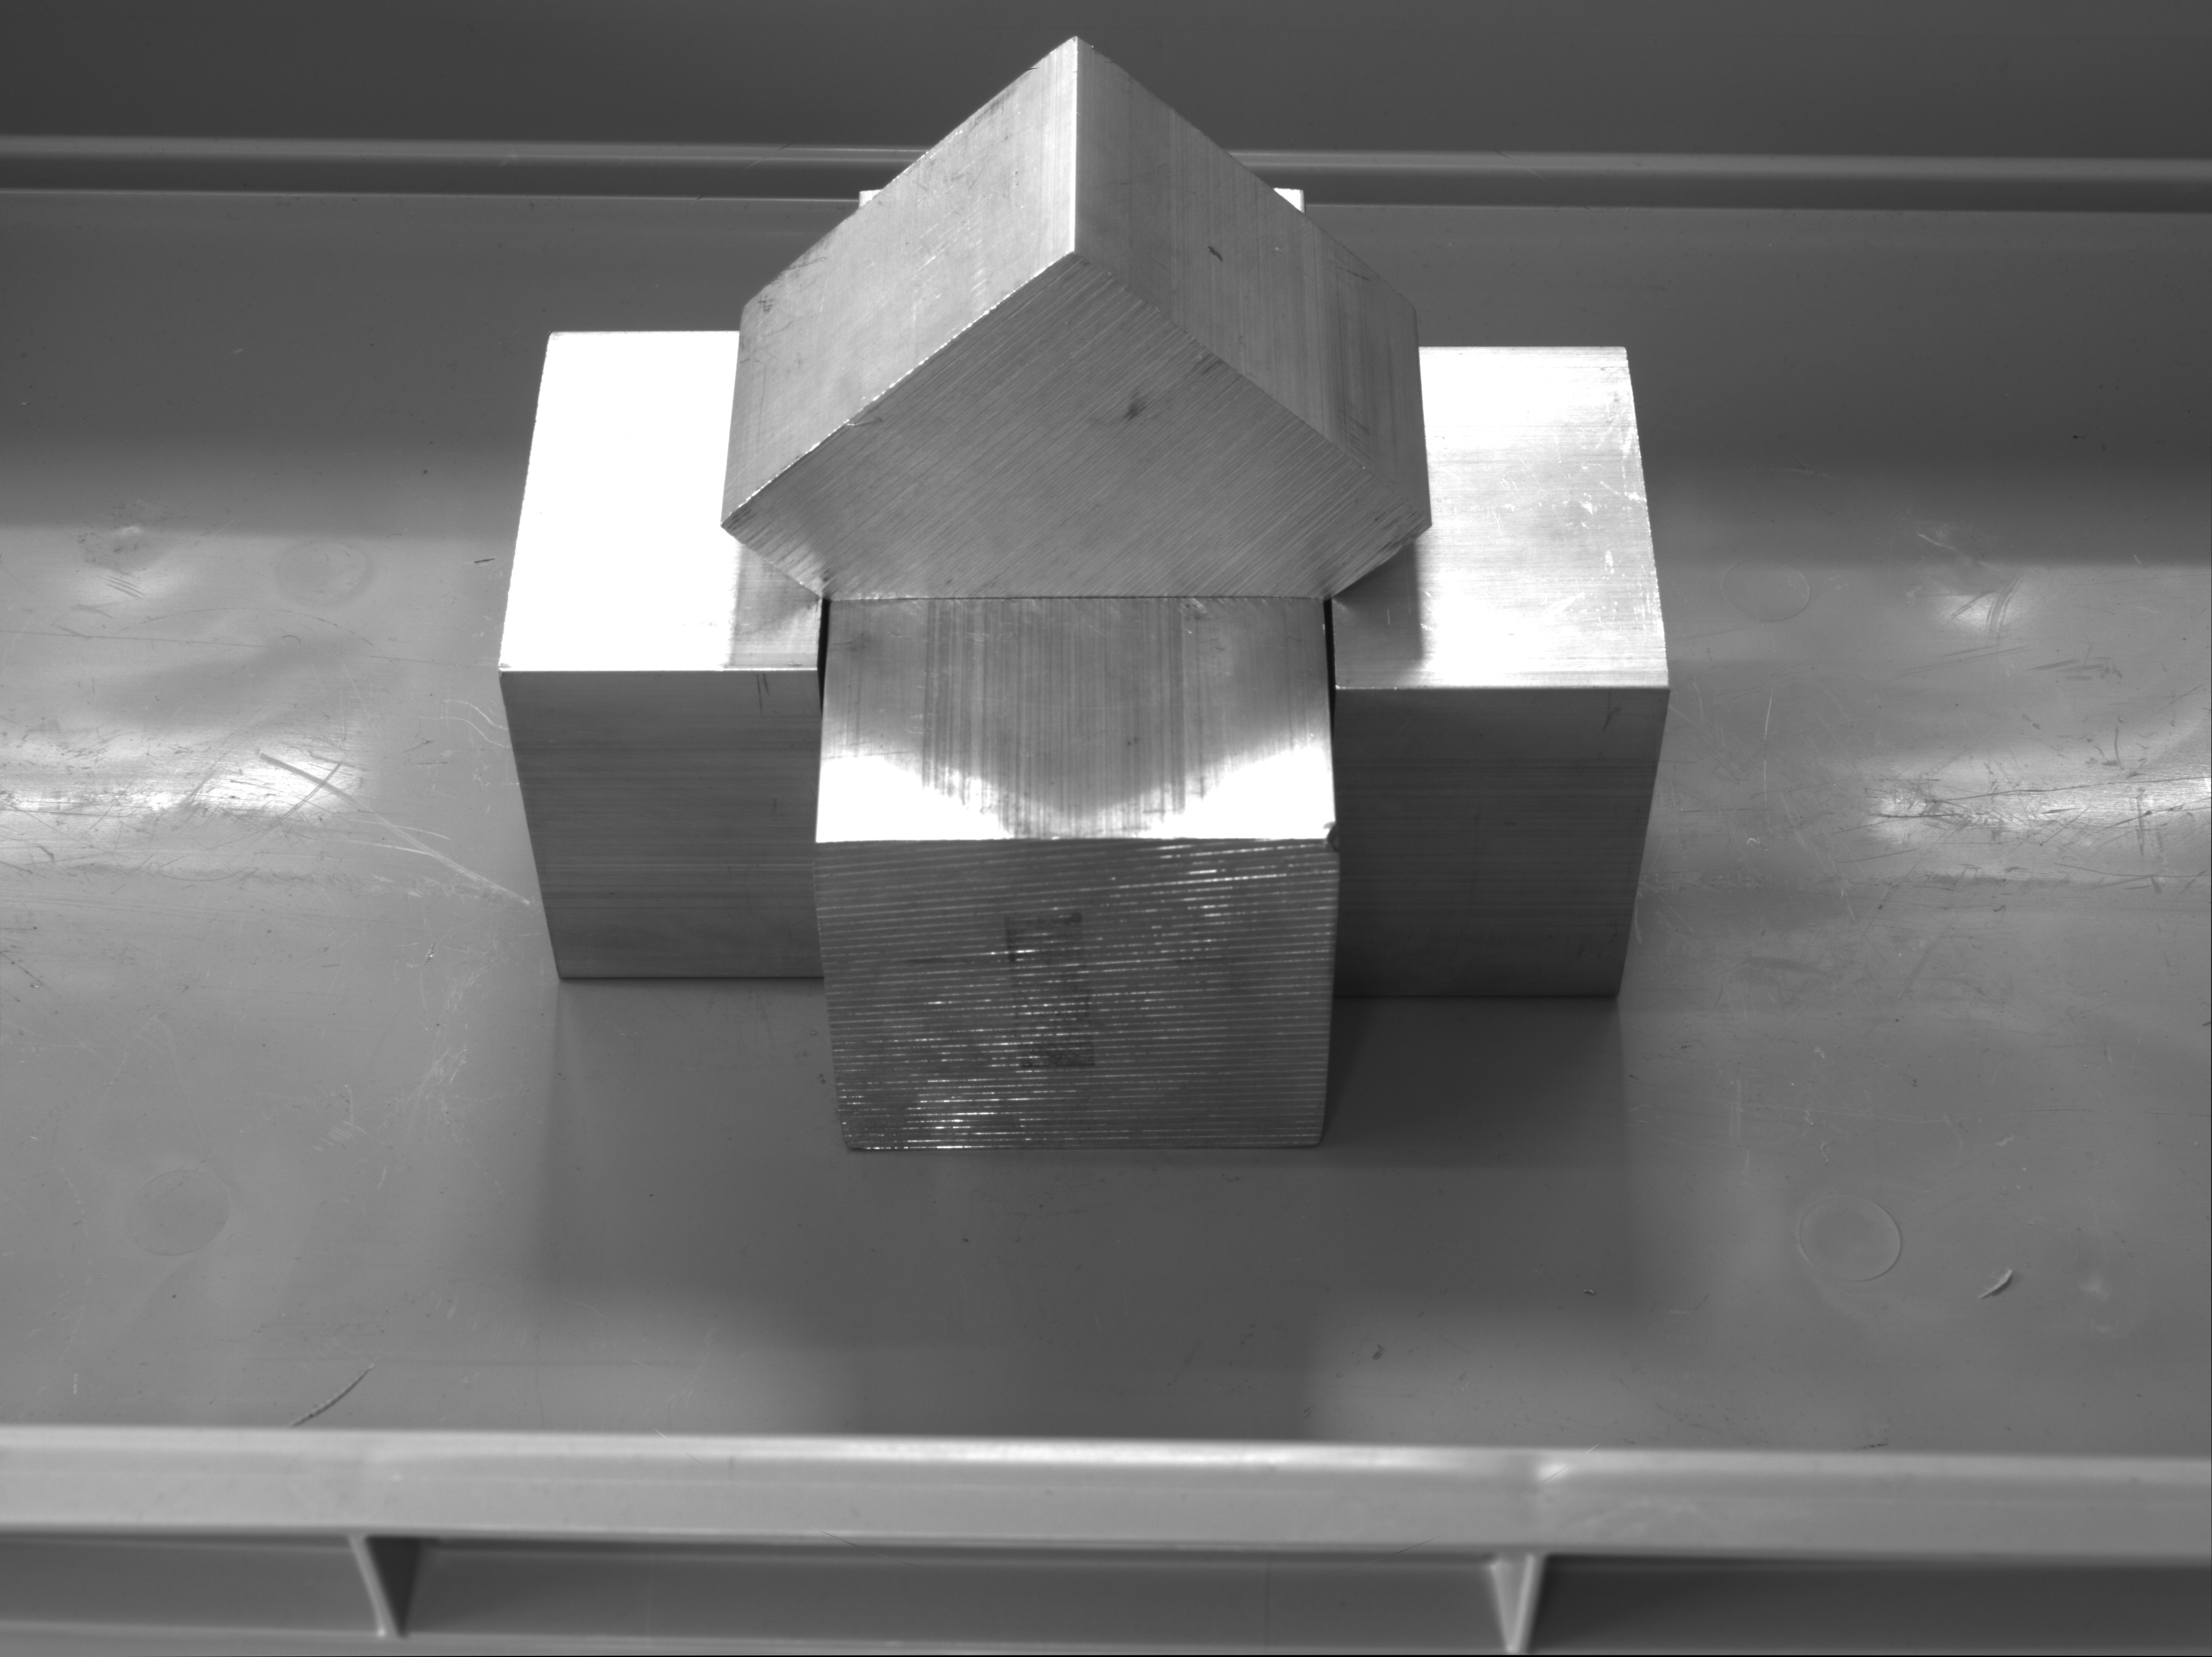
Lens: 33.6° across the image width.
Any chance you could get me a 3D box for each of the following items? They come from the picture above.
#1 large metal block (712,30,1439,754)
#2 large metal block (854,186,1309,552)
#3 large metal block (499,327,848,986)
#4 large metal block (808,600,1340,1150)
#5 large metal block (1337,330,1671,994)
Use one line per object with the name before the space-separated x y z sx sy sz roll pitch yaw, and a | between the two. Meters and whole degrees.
large metal block | -0.005 -0.066 0.587 0.080 0.080 0.050 33 40 -33
large metal block | -0.004 -0.069 0.663 0.080 0.080 0.050 0 50 0
large metal block | -0.070 -0.029 0.630 0.050 0.080 0.080 0 50 0
large metal block | -0.004 0.009 0.598 0.080 0.080 0.050 0 50 0
large metal block | 0.063 -0.028 0.626 0.050 0.080 0.080 0 50 0
